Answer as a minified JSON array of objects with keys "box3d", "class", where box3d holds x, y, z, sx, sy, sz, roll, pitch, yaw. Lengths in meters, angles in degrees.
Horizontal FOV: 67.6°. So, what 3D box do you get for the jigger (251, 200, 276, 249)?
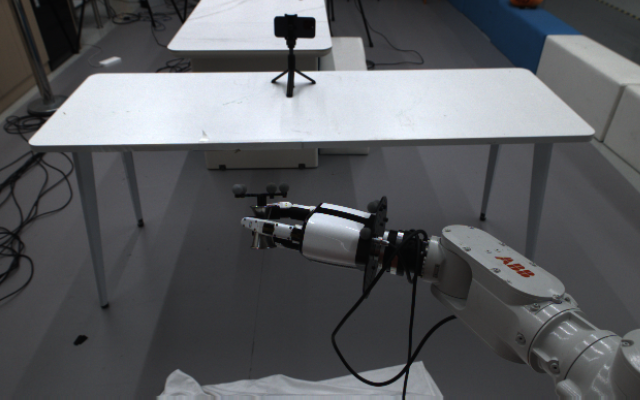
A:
[{"box3d":[-0.093,0.042,0.779,0.043,0.071,0.043,-2,3,0],"class":"jigger"}]
